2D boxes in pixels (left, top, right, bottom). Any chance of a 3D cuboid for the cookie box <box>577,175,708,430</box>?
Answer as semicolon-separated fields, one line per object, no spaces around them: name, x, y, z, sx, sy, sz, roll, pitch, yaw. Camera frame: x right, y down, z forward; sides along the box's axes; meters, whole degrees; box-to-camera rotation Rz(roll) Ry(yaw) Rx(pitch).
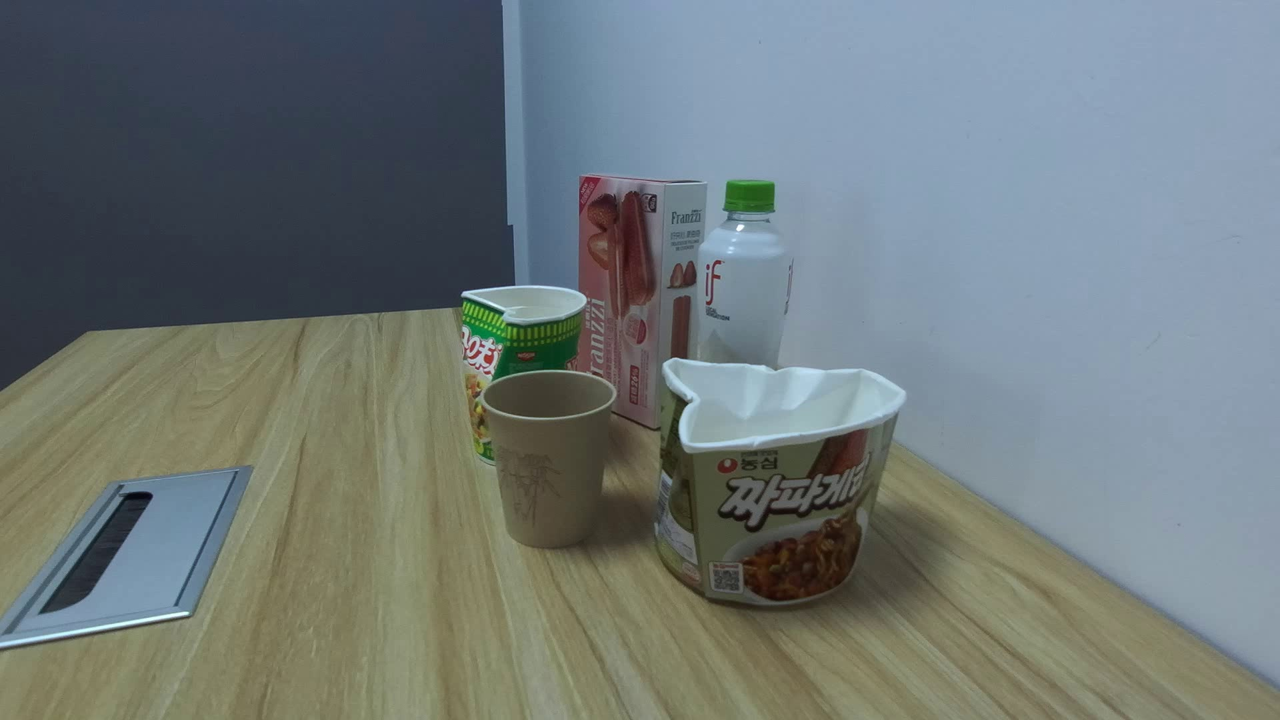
cookie box;-0.001;-0.048;0.553;0.049;0.184;0.095;-13;22;-41

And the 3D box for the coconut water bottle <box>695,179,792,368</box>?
coconut water bottle;0.066;-0.019;0.463;0.063;0.188;0.063;2;14;0

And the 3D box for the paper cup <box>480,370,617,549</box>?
paper cup;-0.050;0.057;0.401;0.075;0.082;0.075;1;19;0

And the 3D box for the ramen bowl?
ramen bowl;0.075;0.057;0.377;0.134;0.097;0.113;-3;19;-8

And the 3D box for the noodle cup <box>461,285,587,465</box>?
noodle cup;-0.079;0.012;0.491;0.087;0.109;0.093;-3;21;-11
